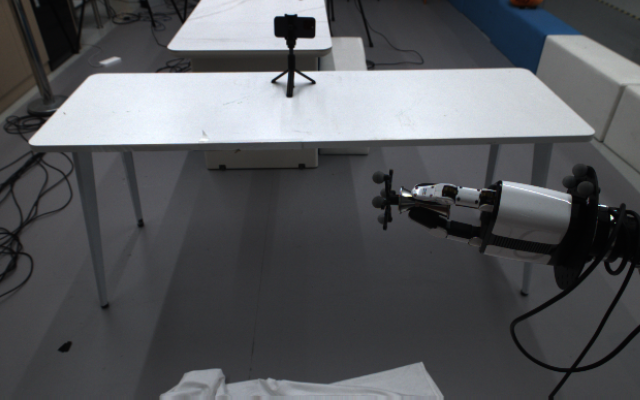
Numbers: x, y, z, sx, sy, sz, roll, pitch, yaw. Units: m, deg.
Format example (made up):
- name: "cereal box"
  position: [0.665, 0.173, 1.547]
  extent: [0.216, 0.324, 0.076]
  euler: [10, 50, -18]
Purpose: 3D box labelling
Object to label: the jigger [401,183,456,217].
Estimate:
- name: "jigger"
  position: [0.152, -0.002, 0.671]
  extent: [0.071, 0.043, 0.043]
  euler: [3, 34, 16]
